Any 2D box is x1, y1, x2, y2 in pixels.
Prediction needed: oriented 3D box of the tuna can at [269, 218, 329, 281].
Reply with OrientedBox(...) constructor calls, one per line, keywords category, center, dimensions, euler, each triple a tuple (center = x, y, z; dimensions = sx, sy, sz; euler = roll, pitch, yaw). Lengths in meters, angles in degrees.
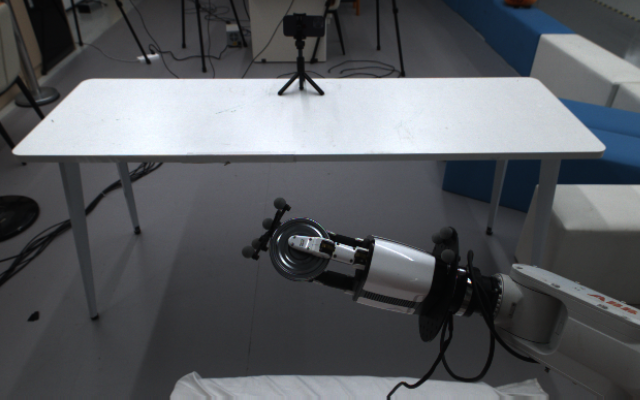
OrientedBox(category="tuna can", center=(-0.023, 0.071, 0.657), dimensions=(0.085, 0.034, 0.085), euler=(1, 76, -5))
